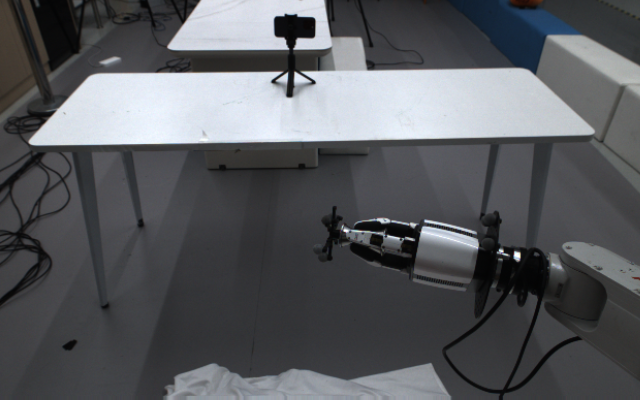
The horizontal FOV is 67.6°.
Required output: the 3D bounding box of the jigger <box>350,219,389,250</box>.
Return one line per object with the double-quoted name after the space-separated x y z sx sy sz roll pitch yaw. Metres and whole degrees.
0.074 0.055 0.750 0.071 0.043 0.043 7 35 16 "jigger"
